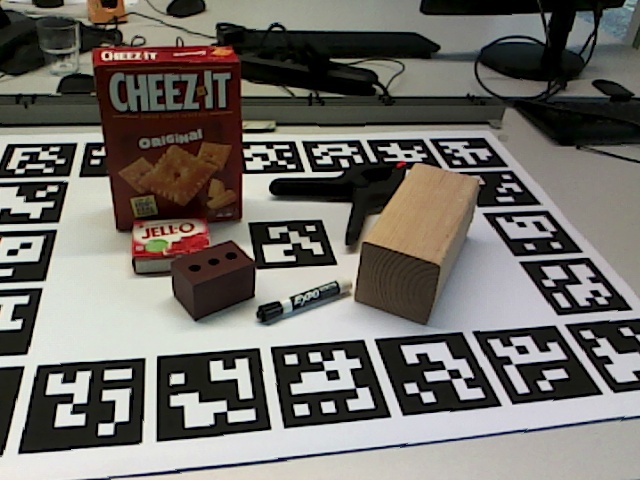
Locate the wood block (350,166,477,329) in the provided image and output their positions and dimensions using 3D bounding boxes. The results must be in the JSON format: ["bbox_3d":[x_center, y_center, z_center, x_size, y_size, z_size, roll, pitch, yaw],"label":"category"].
[{"bbox_3d":[0.117,0.000,0.754,0.090,0.091,0.206,17,37,18],"label":"wood block"}]

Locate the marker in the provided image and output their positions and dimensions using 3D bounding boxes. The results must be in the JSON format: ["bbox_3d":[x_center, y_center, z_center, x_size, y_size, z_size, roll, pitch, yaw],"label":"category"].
[{"bbox_3d":[-0.031,0.073,0.691,0.120,0.019,0.020,-17,45,-26],"label":"marker"}]

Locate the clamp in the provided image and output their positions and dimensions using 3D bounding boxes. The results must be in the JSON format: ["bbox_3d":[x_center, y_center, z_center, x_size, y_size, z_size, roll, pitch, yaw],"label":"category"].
[{"bbox_3d":[0.050,-0.073,0.876,0.202,0.036,0.166,-26,48,-34],"label":"clamp"}]

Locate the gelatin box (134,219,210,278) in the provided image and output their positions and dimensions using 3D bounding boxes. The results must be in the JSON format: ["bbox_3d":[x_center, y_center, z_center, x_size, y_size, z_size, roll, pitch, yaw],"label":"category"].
[{"bbox_3d":[-0.180,0.009,0.752,0.089,0.030,0.073,-4,40,-12],"label":"gelatin box"}]

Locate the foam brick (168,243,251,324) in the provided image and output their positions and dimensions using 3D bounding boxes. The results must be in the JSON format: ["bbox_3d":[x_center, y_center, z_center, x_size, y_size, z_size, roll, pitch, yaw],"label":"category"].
[{"bbox_3d":[-0.123,0.047,0.689,0.078,0.051,0.053,-21,47,-30],"label":"foam brick"}]

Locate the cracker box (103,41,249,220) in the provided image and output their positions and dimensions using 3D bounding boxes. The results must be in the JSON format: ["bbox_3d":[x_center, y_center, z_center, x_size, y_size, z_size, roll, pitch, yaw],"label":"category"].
[{"bbox_3d":[-0.176,-0.131,0.772,0.163,0.213,0.072,-4,38,-15],"label":"cracker box"}]
